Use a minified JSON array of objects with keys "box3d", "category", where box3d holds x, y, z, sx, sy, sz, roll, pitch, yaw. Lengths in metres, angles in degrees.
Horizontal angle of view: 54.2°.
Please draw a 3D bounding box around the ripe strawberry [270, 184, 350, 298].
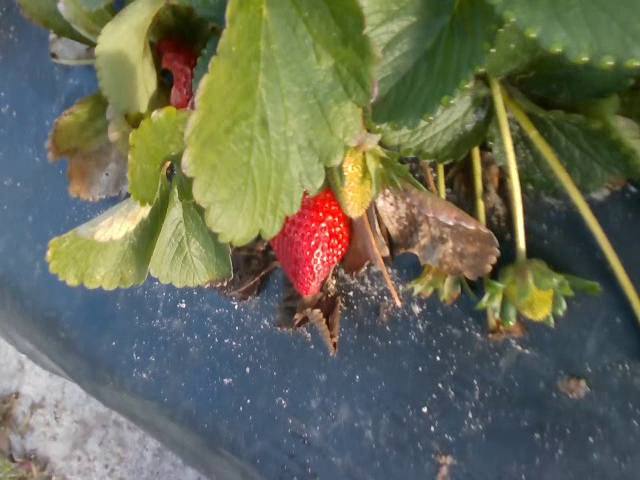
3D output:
[{"box3d":[-0.005,0.001,0.173,0.032,0.030,0.026,-9,-15,29],"category":"ripe strawberry"}]
